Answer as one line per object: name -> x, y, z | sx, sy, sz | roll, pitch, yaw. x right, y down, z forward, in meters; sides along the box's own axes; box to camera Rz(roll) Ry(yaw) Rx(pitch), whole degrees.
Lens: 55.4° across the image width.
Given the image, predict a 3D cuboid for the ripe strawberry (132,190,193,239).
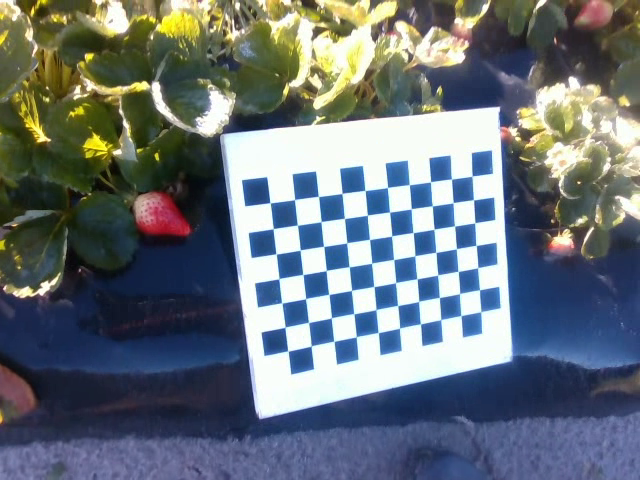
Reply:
ripe strawberry -> -0.153, -0.019, 0.586 | 0.065, 0.040, 0.040 | 34, -8, -18
